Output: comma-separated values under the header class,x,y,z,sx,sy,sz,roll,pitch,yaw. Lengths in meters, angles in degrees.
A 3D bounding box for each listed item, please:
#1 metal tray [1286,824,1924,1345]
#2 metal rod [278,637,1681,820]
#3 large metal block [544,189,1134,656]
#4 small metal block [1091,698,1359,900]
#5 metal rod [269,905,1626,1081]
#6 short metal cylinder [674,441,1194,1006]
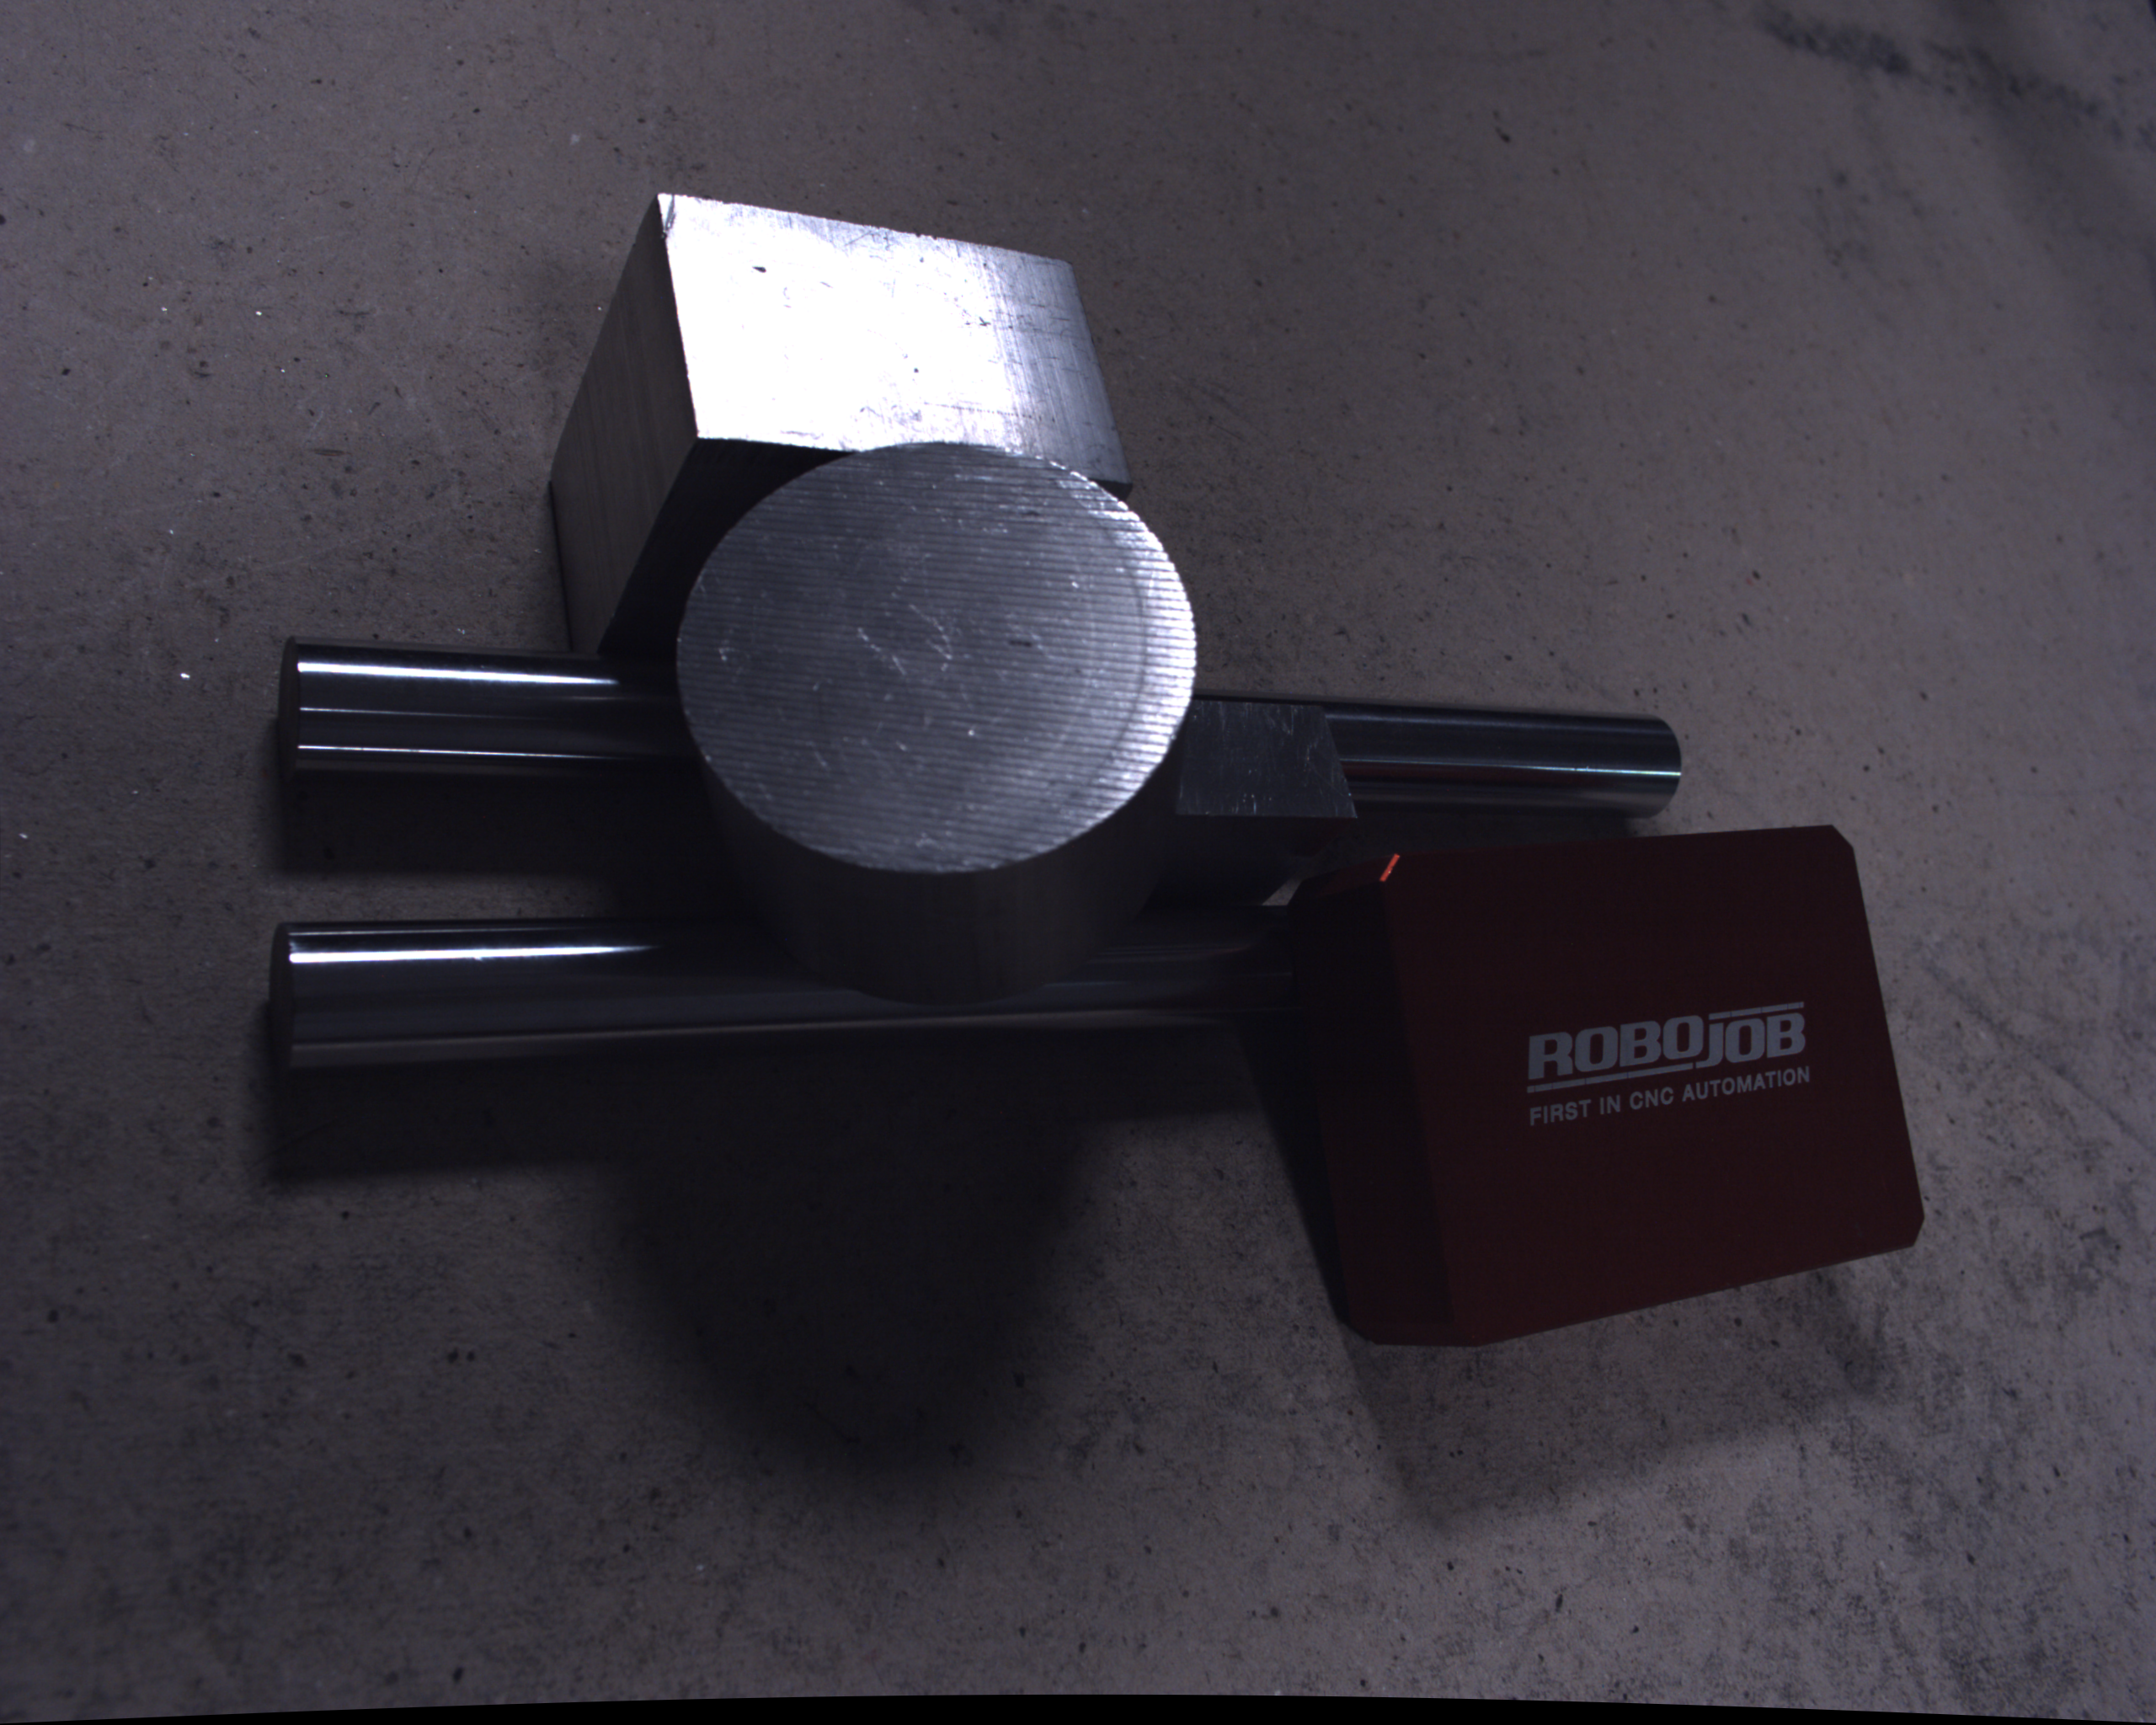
class,x,y,z,sx,sy,sz,roll,pitch,yaw
metal tray,0.109,0.041,0.419,0.131,0.030,0.090,-3,81,-31
metal rod,0.001,-0.024,0.422,0.303,0.025,0.025,1,62,-28
large metal block,-0.048,-0.072,0.390,0.081,0.080,0.050,1,62,-28
small metal block,0.017,-0.008,0.404,0.050,0.050,0.025,1,62,-28
metal rod,0.008,0.021,0.399,0.303,0.025,0.025,0,62,-29
short metal cylinder,-0.023,-0.023,0.346,0.081,0.050,0.080,1,63,-1
